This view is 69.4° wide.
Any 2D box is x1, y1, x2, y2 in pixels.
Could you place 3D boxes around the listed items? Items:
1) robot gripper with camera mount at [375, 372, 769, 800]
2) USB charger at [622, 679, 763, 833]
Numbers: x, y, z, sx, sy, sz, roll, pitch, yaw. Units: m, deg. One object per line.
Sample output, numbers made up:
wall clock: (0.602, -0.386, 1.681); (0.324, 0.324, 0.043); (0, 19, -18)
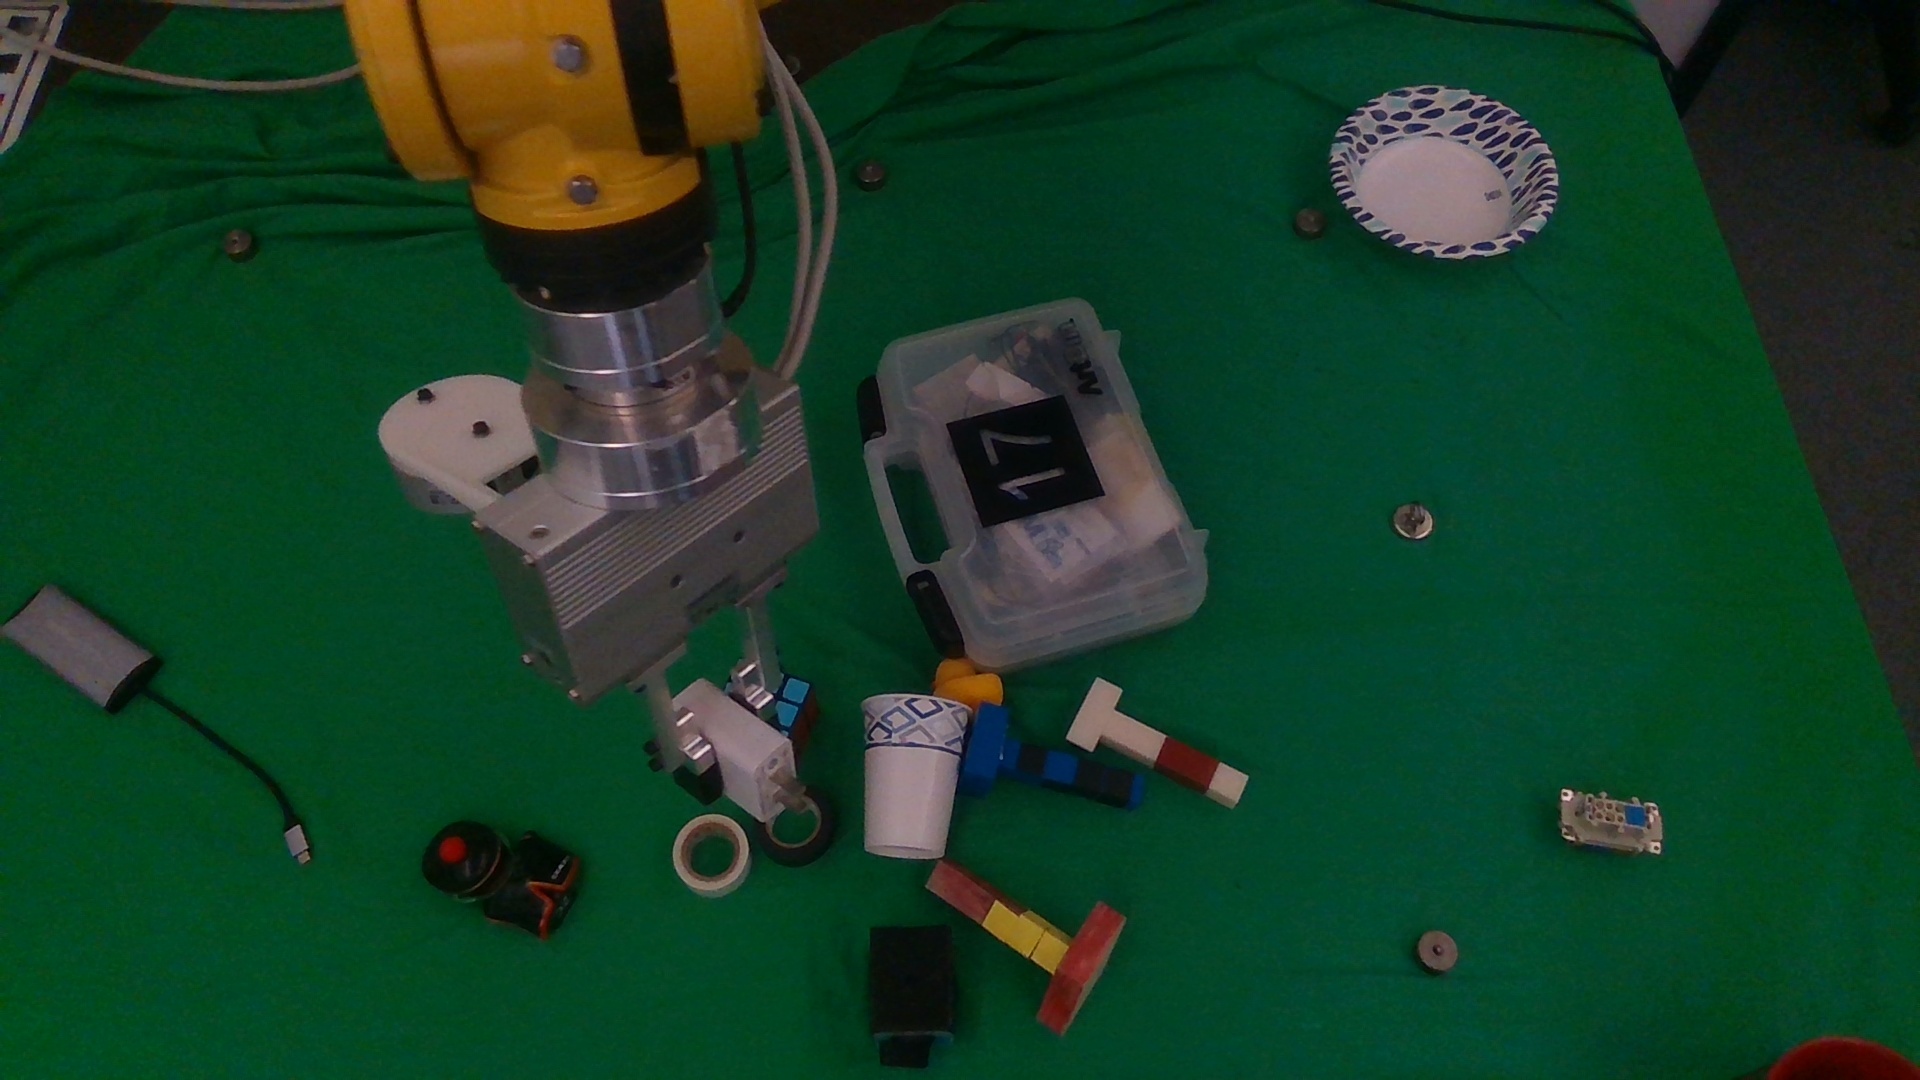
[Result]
robot gripper with camera mount: (-0.177, 0.005, 0.580); (0.118, 0.158, 0.194); (-35, 44, -29)
USB charger: (-0.109, 0.092, 0.567); (0.076, 0.044, 0.029); (32, 53, 30)
